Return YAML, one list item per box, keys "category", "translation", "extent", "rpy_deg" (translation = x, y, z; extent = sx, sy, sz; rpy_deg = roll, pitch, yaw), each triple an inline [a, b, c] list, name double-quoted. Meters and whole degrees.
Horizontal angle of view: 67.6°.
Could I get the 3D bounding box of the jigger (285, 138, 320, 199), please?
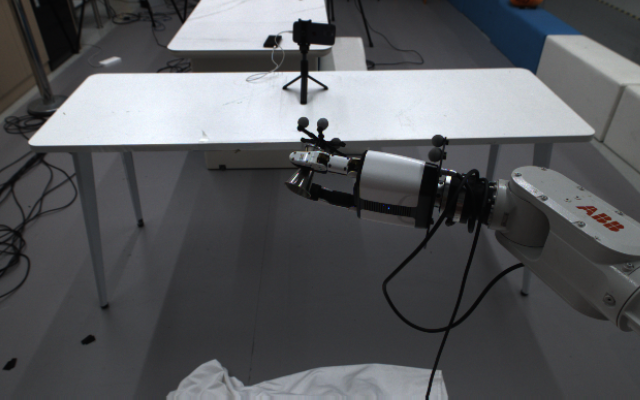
- category: "jigger"
  translation: [-0.020, -0.047, 0.715]
  extent: [0.043, 0.043, 0.071]
  rpy_deg: [21, 73, 25]
